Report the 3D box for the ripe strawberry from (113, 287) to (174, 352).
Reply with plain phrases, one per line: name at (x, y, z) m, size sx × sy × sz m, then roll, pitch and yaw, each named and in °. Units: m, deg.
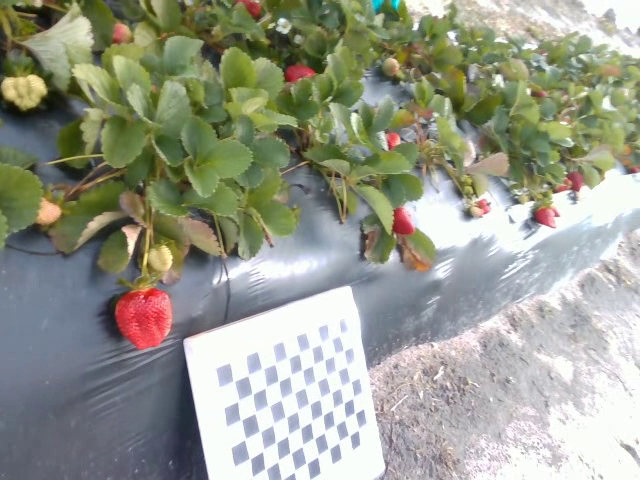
ripe strawberry at (-0.197, 0.088, 0.656) m, size 0.067 × 0.075 × 0.039 m, roll -6°, pitch -4°, yaw -45°
